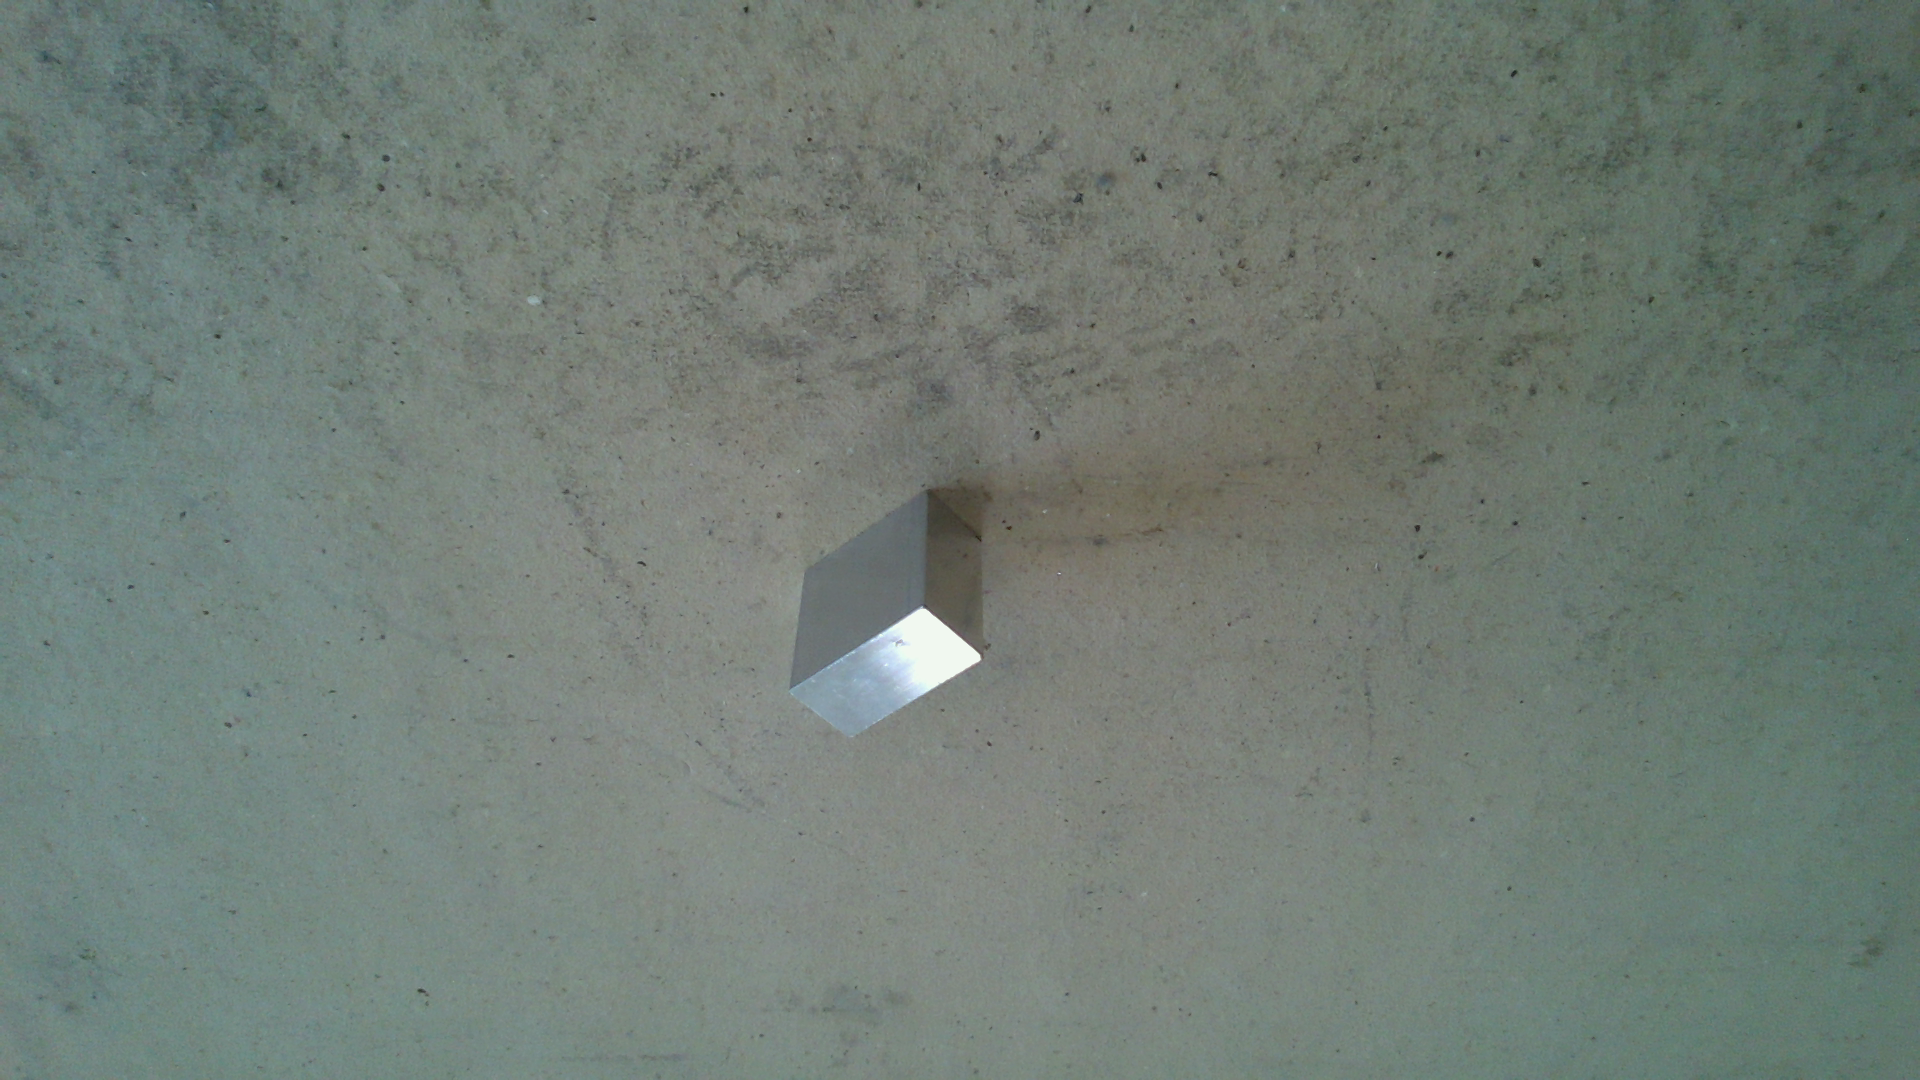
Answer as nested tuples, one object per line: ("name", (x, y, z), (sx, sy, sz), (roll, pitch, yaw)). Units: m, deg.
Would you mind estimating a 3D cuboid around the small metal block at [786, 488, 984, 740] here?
("small metal block", (-0.021, 0.021, 0.392), (0.050, 0.050, 0.025), (-33, 123, 24))
